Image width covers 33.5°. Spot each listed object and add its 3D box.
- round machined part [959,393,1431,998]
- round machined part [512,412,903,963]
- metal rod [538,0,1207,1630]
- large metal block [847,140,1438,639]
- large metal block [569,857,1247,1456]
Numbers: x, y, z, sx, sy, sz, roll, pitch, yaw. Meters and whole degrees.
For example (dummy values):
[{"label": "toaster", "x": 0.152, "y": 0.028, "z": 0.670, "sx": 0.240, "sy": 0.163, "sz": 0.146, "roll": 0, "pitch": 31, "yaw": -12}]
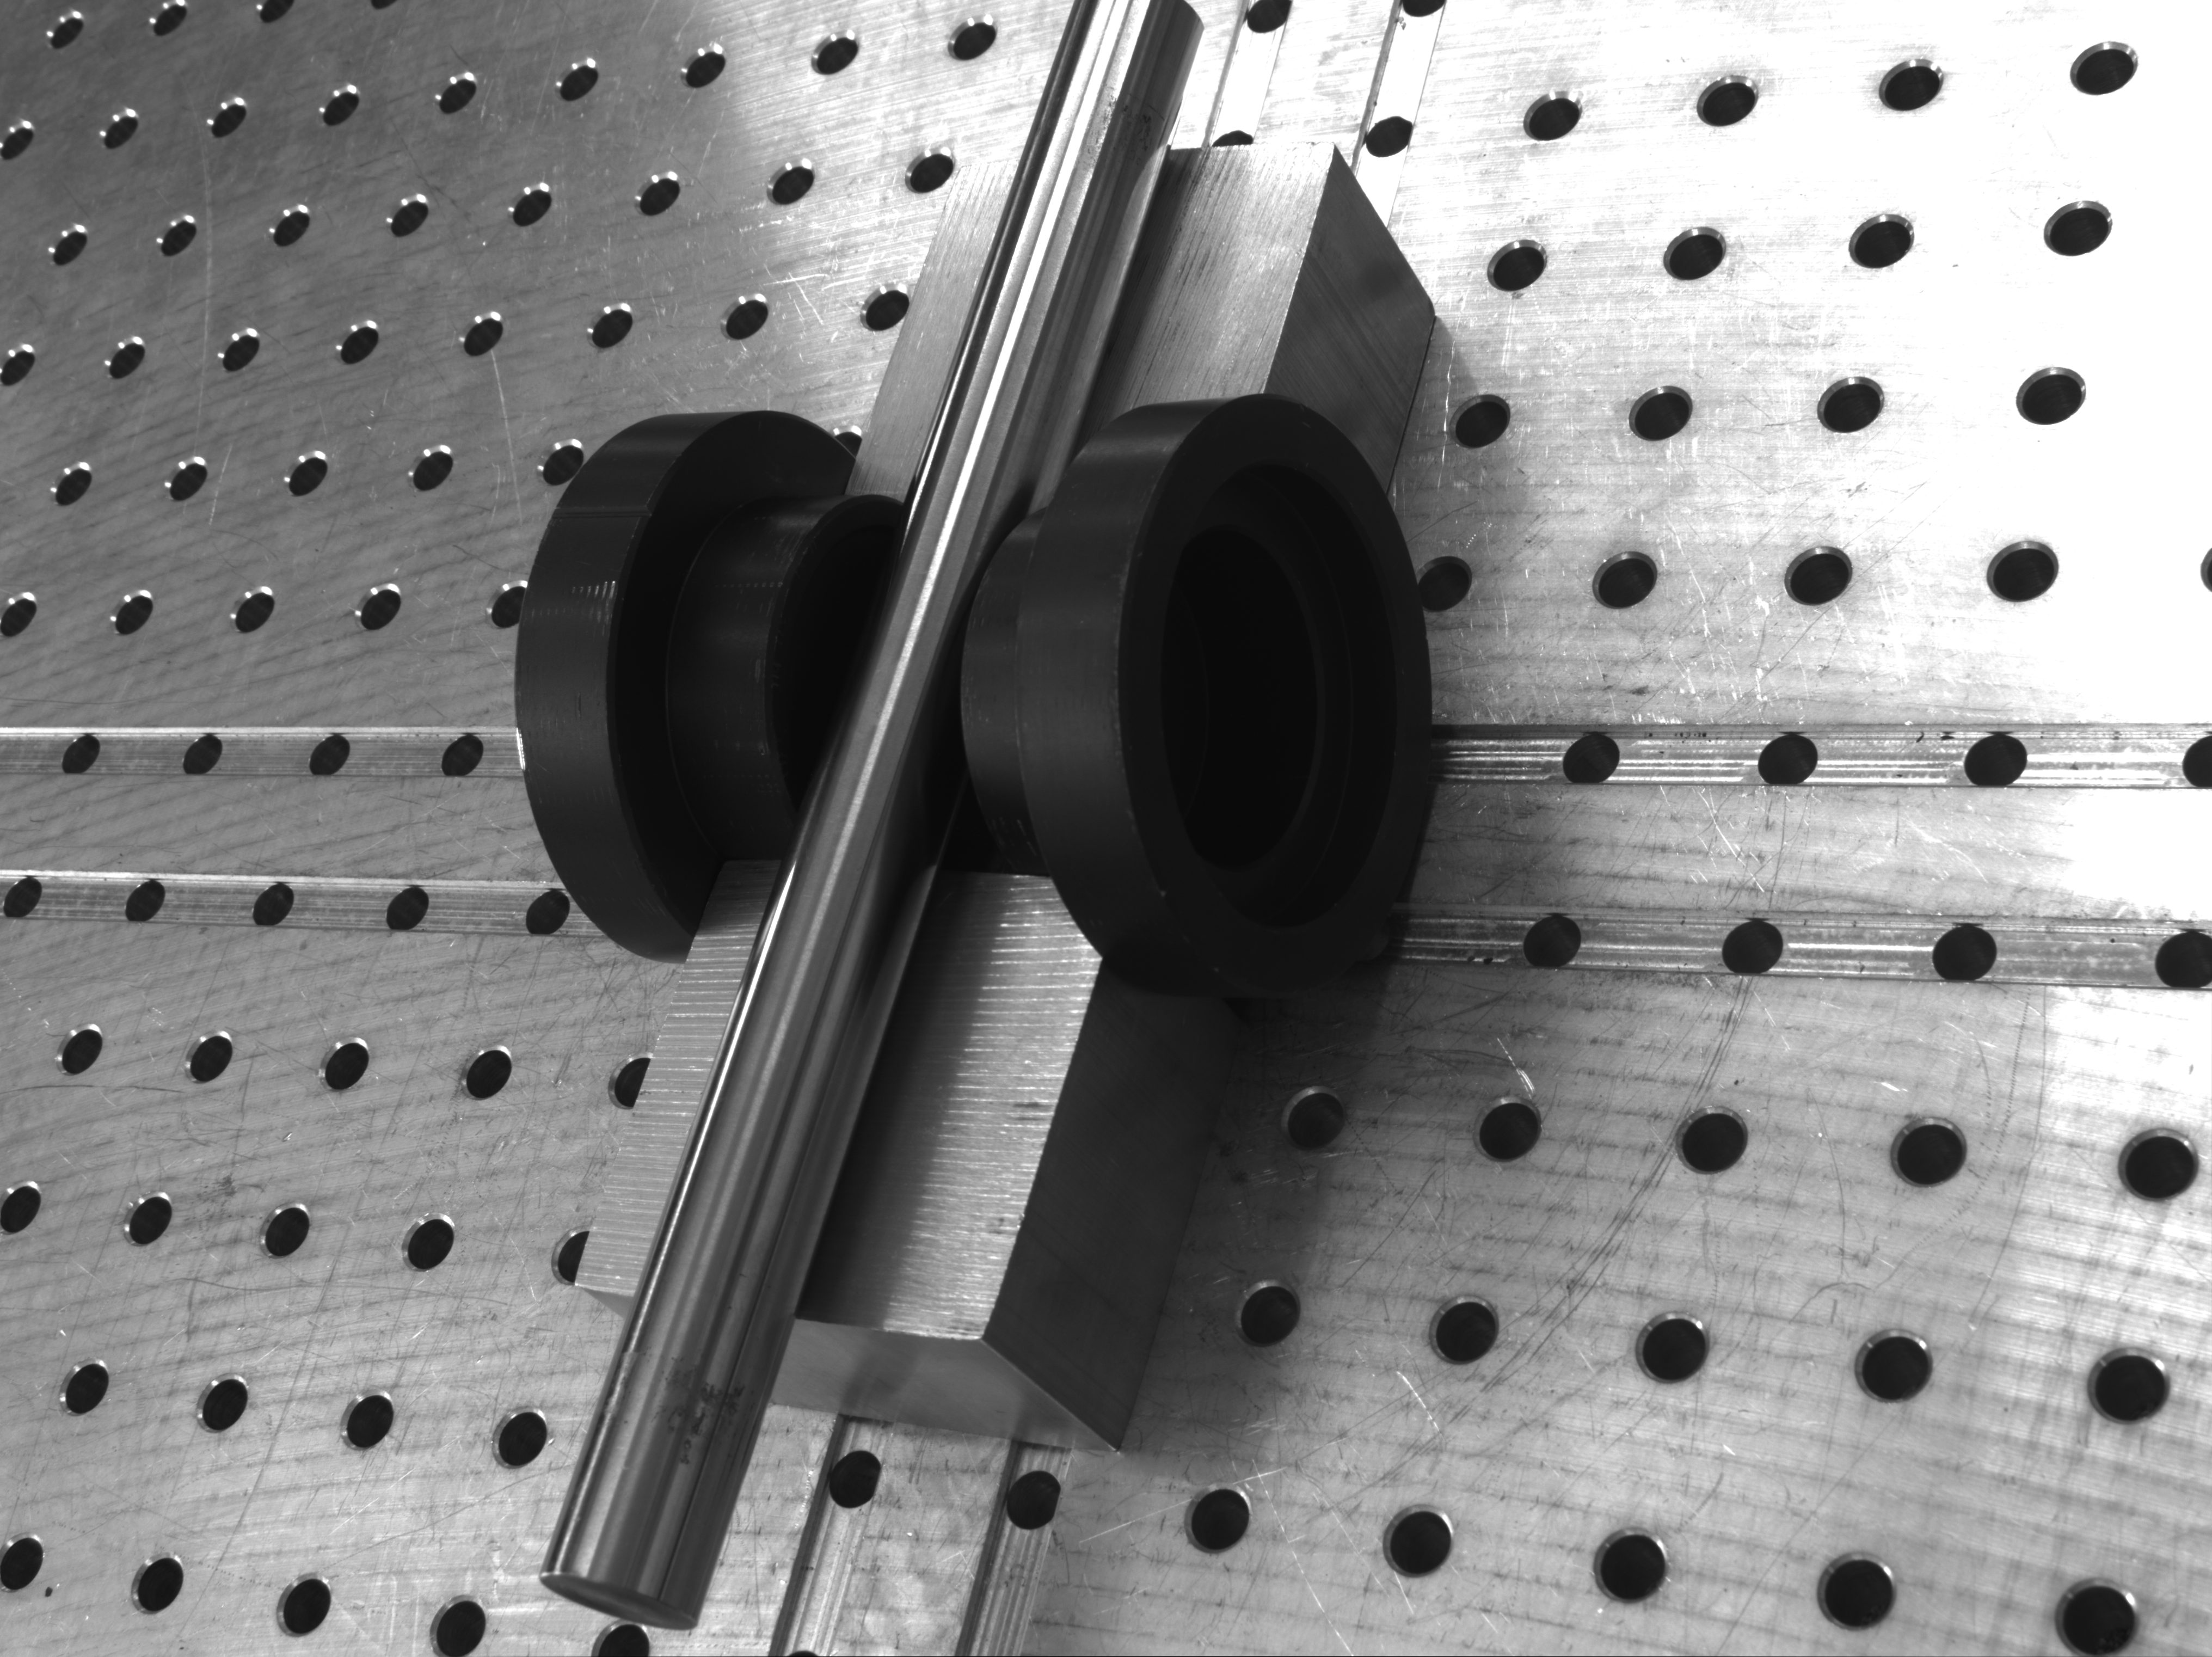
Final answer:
[{"label": "round machined part", "x": 0.012, "y": -0.021, "z": 0.608, "sx": 0.042, "sy": 0.098, "sz": 0.098, "roll": -1, "pitch": 61, "yaw": 34}, {"label": "round machined part", "x": -0.057, "y": -0.024, "z": 0.647, "sx": 0.042, "sy": 0.098, "sz": 0.098, "roll": 2, "pitch": 62, "yaw": 30}, {"label": "metal rod", "x": -0.033, "y": -0.015, "z": 0.611, "sx": 0.025, "sy": 0.025, "sz": 0.300, "roll": 3, "pitch": 63, "yaw": 30}, {"label": "large metal block", "x": 0.007, "y": -0.076, "z": 0.676, "sx": 0.080, "sy": 0.050, "sz": 0.080, "roll": 2, "pitch": 63, "yaw": 29}, {"label": "large metal block", "x": -0.032, "y": 0.054, "z": 0.616, "sx": 0.080, "sy": 0.050, "sz": 0.080, "roll": 3, "pitch": 63, "yaw": 30}]
